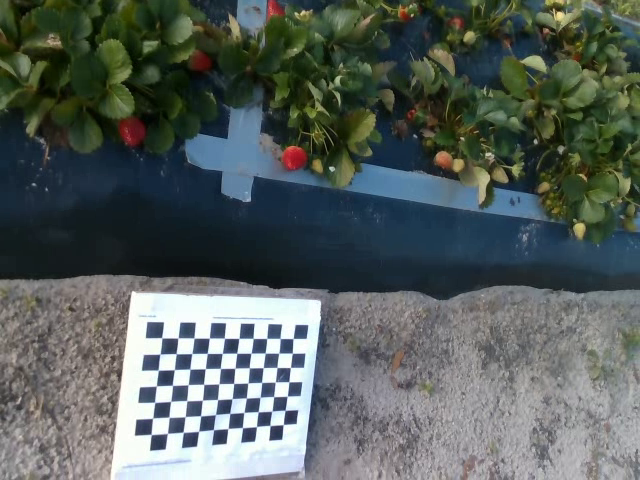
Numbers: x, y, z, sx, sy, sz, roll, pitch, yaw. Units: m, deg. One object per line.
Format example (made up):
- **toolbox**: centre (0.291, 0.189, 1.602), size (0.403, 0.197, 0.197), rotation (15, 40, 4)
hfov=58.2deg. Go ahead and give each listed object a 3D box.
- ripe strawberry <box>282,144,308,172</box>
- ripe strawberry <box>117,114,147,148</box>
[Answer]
- **ripe strawberry**: centre (-0.020, -0.060, 0.419), size (0.023, 0.026, 0.021), rotation (13, -45, -2)
- **ripe strawberry**: centre (-0.123, -0.070, 0.360), size (0.018, 0.023, 0.021), rotation (-4, -26, -10)
